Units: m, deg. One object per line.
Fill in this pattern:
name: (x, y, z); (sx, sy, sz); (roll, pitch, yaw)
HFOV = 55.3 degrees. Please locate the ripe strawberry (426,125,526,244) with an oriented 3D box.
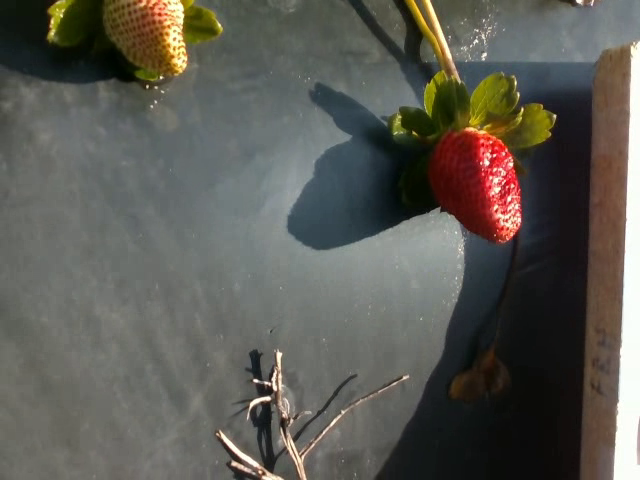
ripe strawberry: (0.021, -0.008, 0.083); (0.015, 0.023, 0.015); (4, -46, -22)
